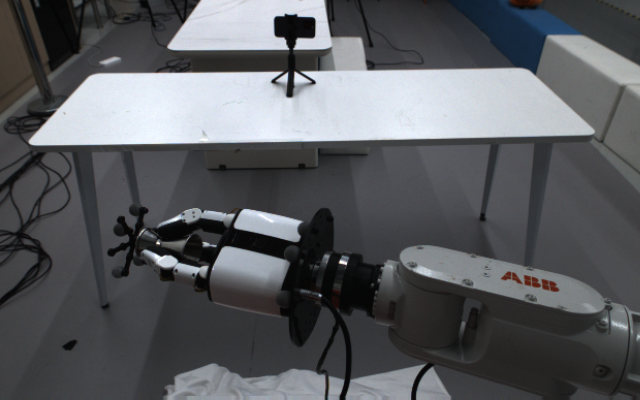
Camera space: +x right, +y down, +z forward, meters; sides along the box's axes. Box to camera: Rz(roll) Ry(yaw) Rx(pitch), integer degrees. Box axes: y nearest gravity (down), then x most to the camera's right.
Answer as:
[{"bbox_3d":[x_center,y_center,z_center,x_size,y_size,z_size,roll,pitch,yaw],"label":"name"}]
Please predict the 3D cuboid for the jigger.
[{"bbox_3d":[-0.179,0.056,0.595,0.071,0.043,0.043,7,35,17],"label":"jigger"}]
